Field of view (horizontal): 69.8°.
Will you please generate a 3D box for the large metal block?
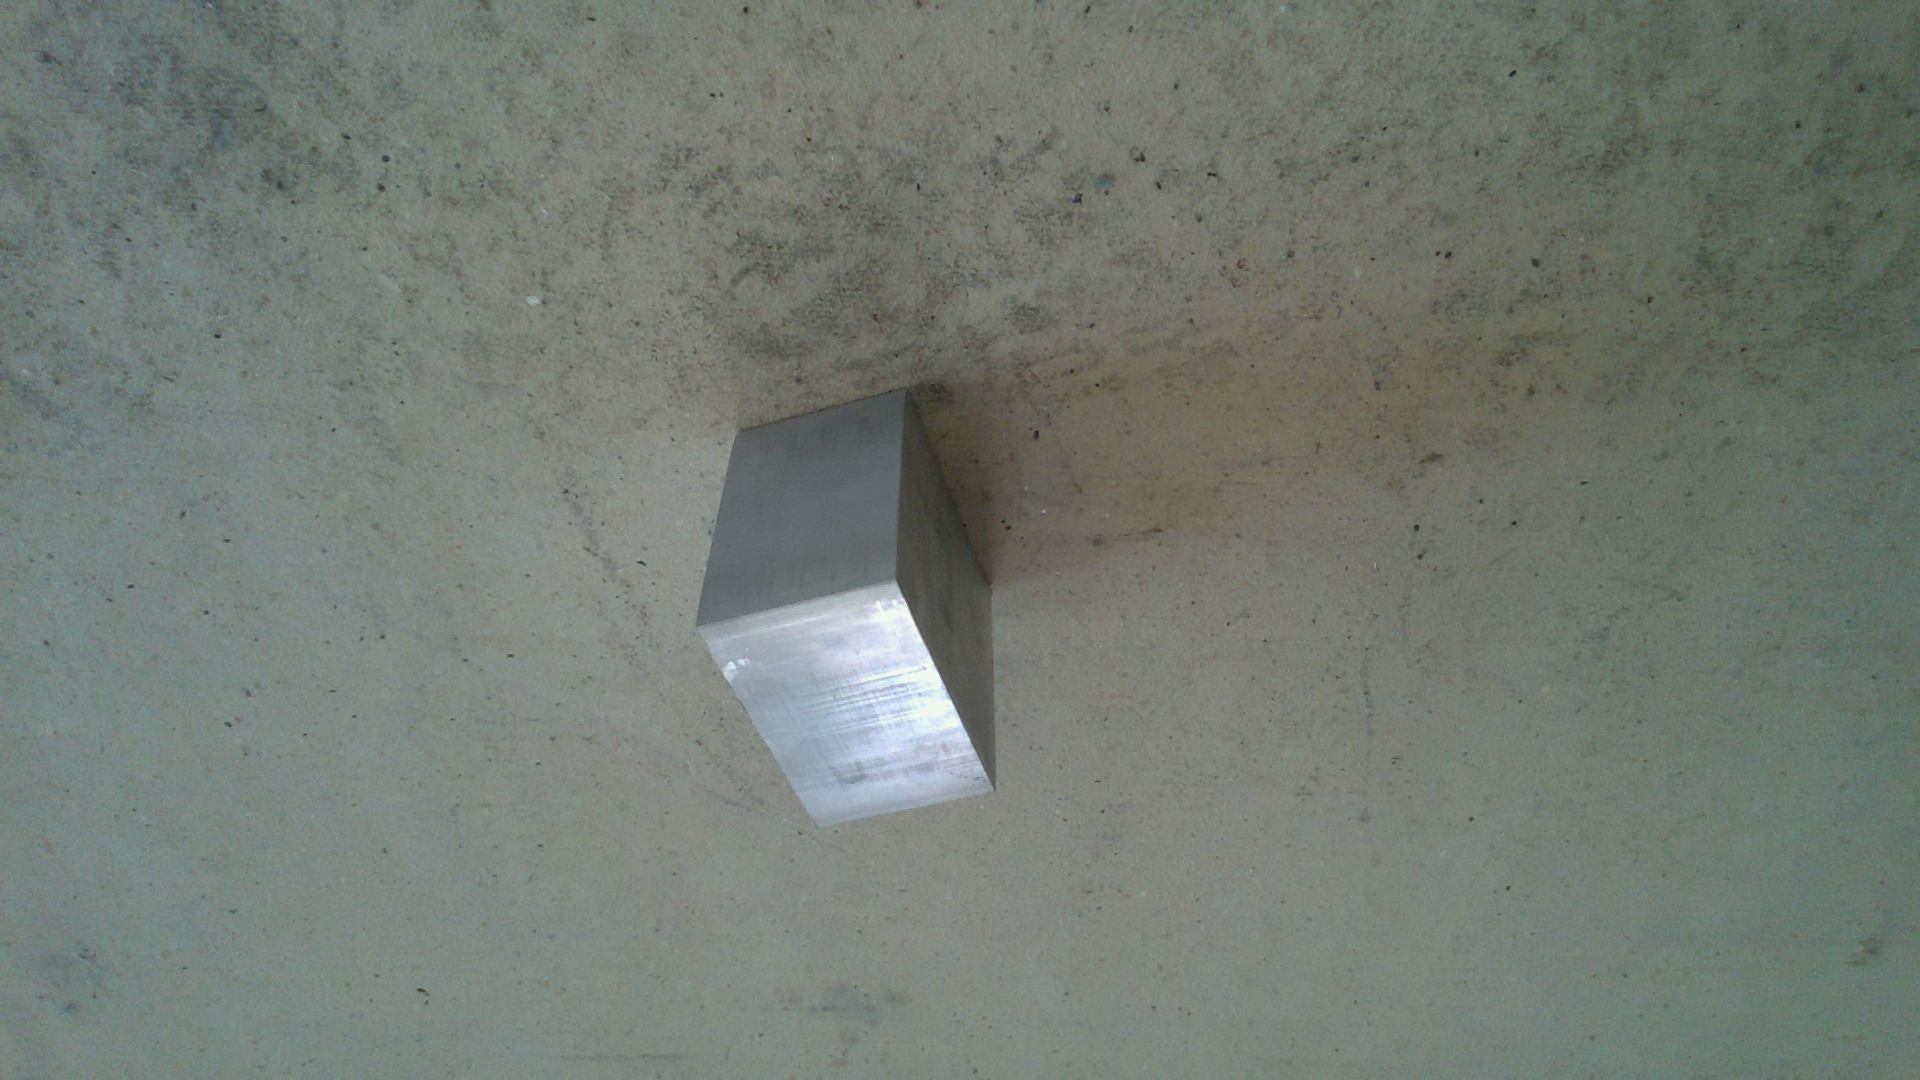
[{"bbox_3d":[-0.027,0.019,0.370,0.050,0.080,0.080,-13,129,11],"label":"large metal block"}]
